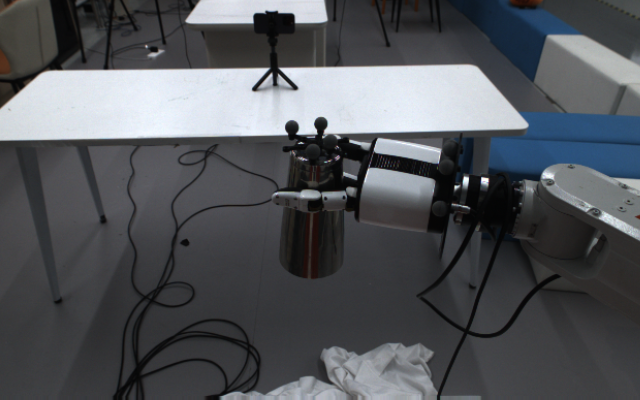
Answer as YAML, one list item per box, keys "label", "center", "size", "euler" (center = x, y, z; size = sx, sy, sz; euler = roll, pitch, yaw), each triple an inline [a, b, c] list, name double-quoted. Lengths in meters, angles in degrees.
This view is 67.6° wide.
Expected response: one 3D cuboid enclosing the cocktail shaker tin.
- label: "cocktail shaker tin"
  center: [-0.006, 0.008, 0.646]
  size: [0.093, 0.170, 0.093]
  euler: [2, 33, -2]
